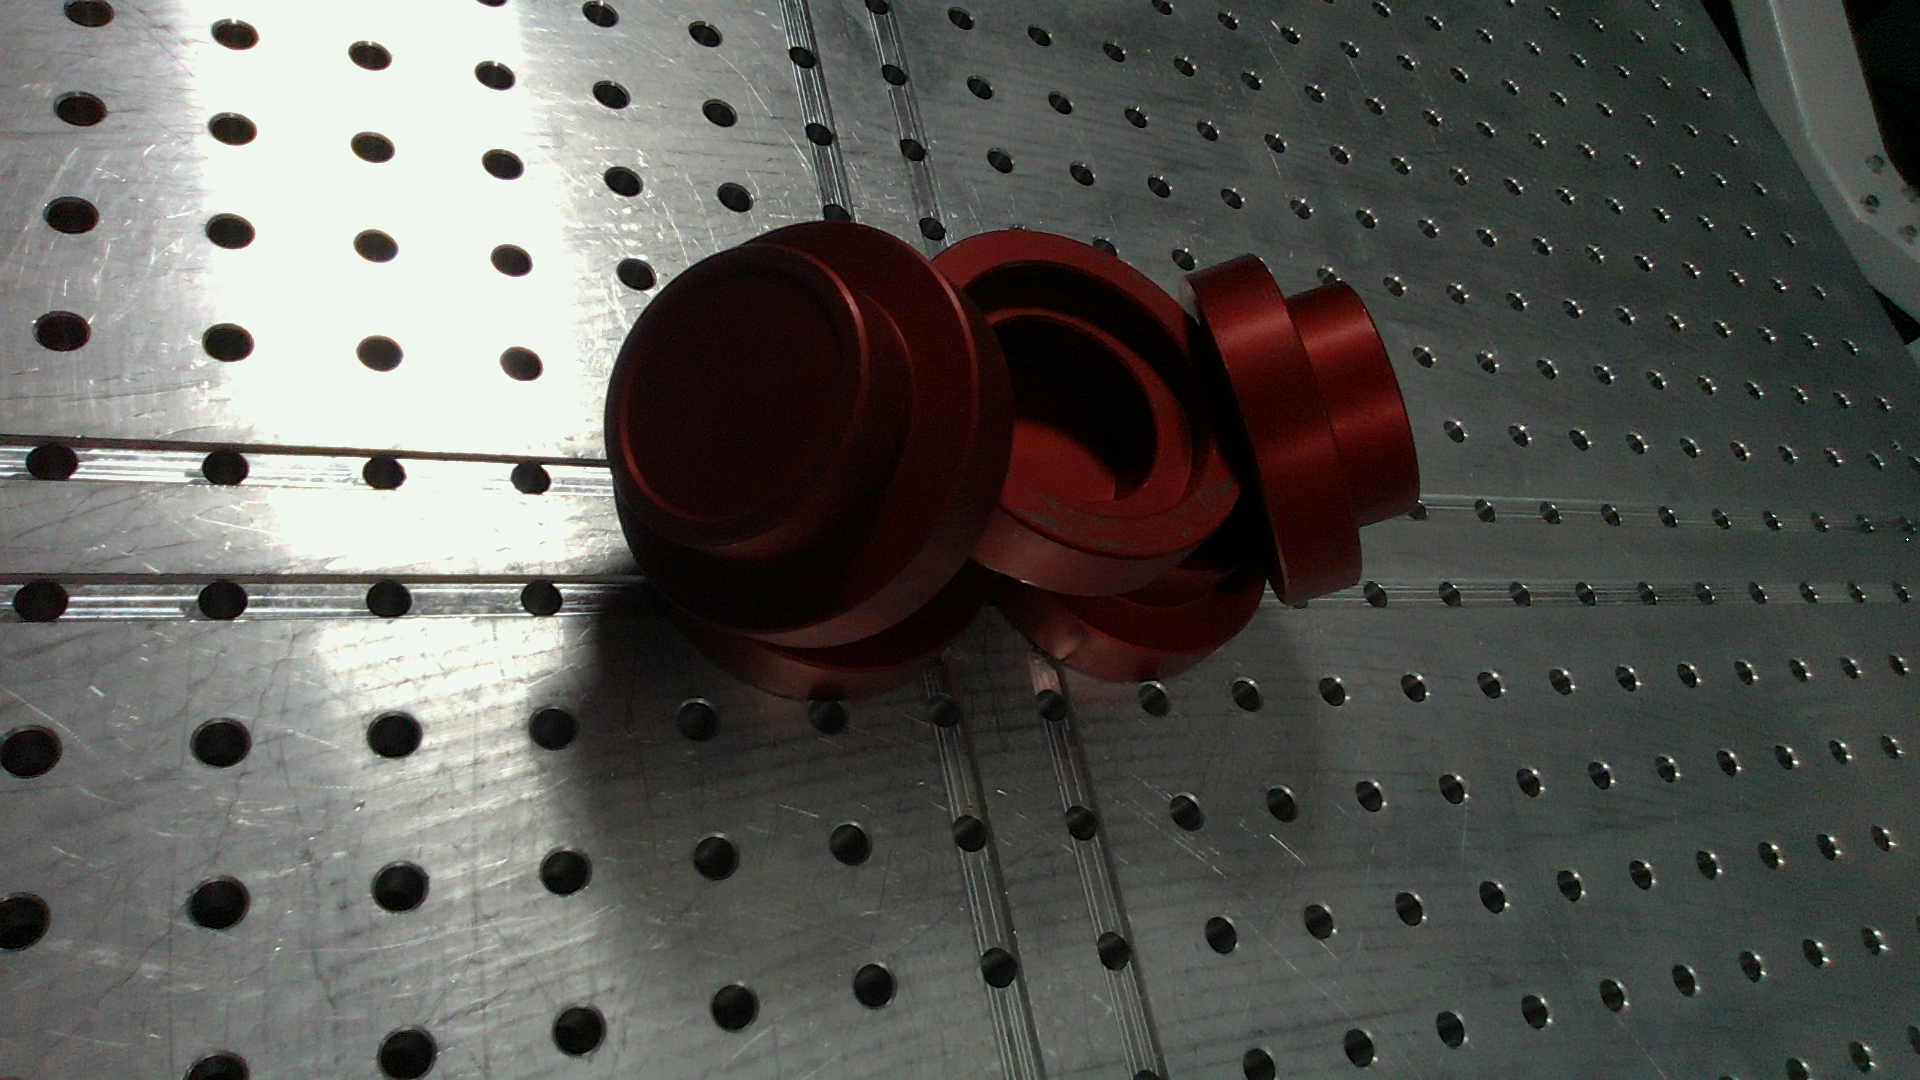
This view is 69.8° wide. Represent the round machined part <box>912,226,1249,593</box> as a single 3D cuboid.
[{"bbox_3d":[0.023,-0.030,0.357,0.098,0.042,0.098,14,56,-21],"label":"round machined part"}]

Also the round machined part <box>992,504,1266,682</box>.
[{"bbox_3d":[0.053,-0.010,0.416,0.098,0.042,0.098,14,56,-21],"label":"round machined part"}]

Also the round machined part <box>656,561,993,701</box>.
[{"bbox_3d":[-0.034,-0.010,0.369,0.098,0.042,0.098,14,56,-21],"label":"round machined part"}]

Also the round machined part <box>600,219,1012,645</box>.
[{"bbox_3d":[-0.041,-0.027,0.311,0.042,0.098,0.098,27,39,-61],"label":"round machined part"}]

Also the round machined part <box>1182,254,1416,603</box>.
[{"bbox_3d":[0.096,-0.035,0.389,0.042,0.098,0.098,-18,65,8],"label":"round machined part"}]
